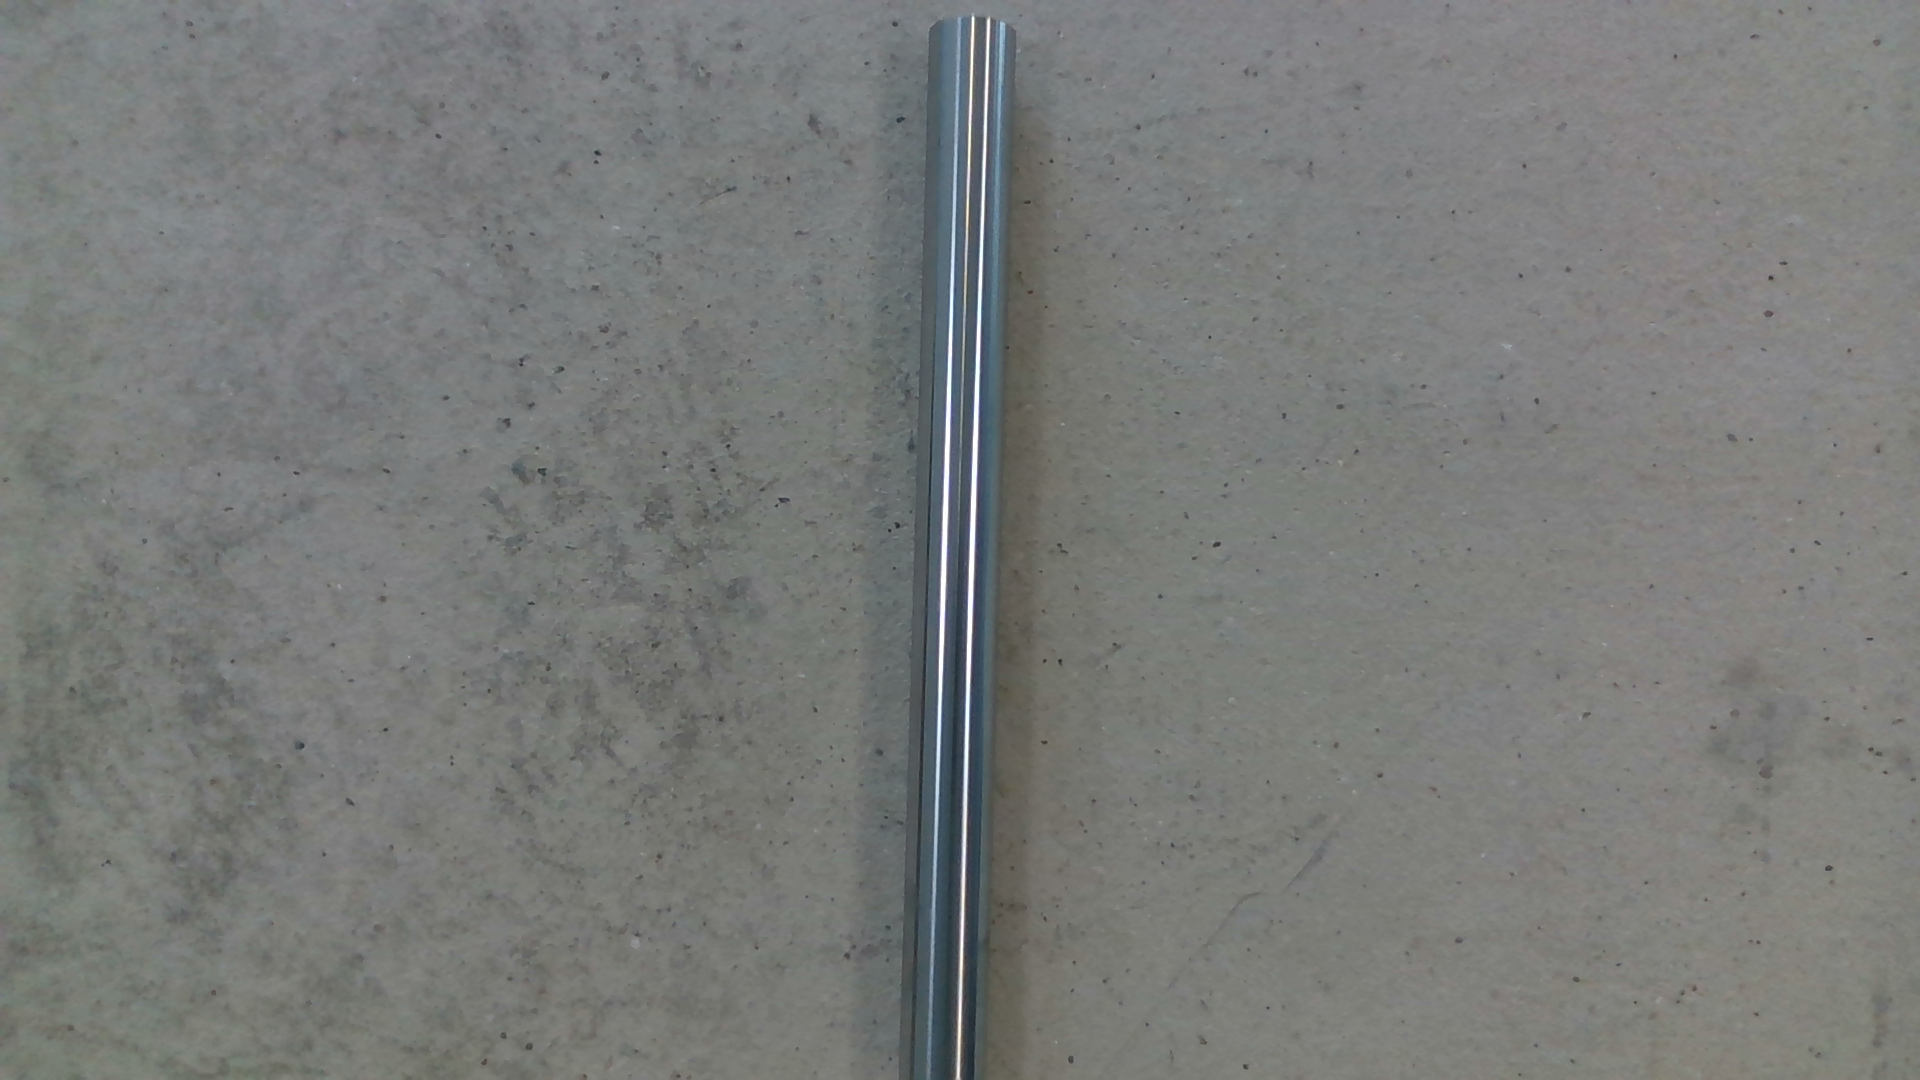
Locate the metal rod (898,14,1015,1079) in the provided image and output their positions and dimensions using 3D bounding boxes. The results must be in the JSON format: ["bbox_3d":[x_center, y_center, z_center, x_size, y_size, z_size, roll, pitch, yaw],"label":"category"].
[{"bbox_3d":[-0.001,0.004,0.395,0.025,0.025,0.300,2,90,0],"label":"metal rod"}]
